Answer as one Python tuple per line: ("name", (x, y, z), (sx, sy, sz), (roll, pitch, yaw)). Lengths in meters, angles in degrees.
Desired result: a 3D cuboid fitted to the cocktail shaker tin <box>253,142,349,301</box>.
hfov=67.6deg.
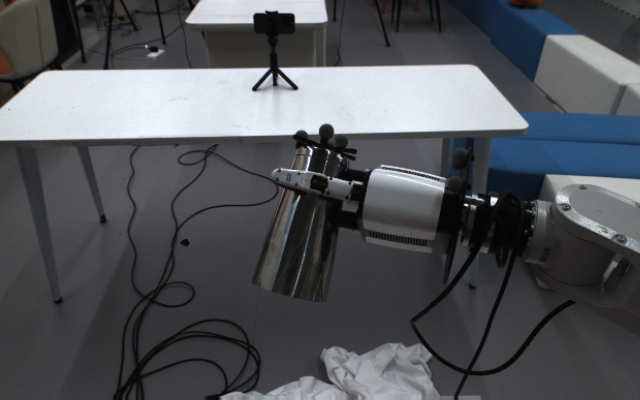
("cocktail shaker tin", (-0.014, 0.024, 0.583), (0.093, 0.170, 0.093), (15, -5, 1))
